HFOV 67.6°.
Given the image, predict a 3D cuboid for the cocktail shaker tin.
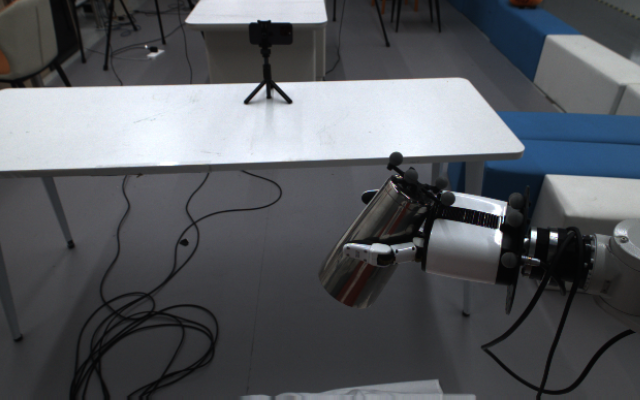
[{"bbox_3d":[0.078,0.048,0.645,0.093,0.170,0.093,25,29,-15],"label":"cocktail shaker tin"}]
